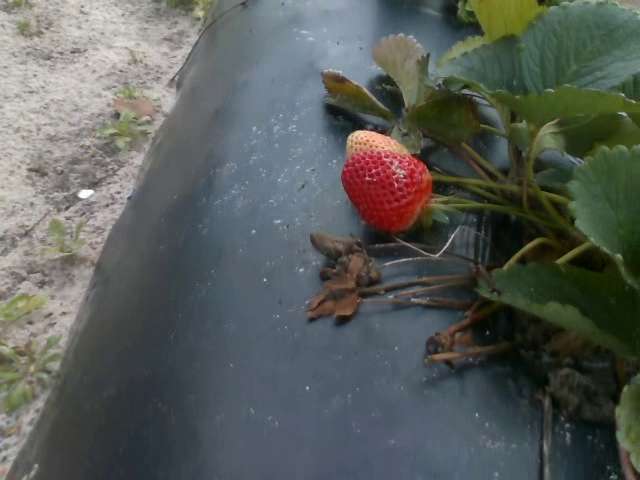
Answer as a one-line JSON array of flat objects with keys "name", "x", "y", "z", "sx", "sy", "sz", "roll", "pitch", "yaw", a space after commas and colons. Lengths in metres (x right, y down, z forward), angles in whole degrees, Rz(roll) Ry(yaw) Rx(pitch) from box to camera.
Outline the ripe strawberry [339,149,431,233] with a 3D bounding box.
[{"name": "ripe strawberry", "x": 0.026, "y": -0.023, "z": 0.251, "sx": 0.041, "sy": 0.034, "sz": 0.033, "roll": 40, "pitch": -30, "yaw": -6}]
